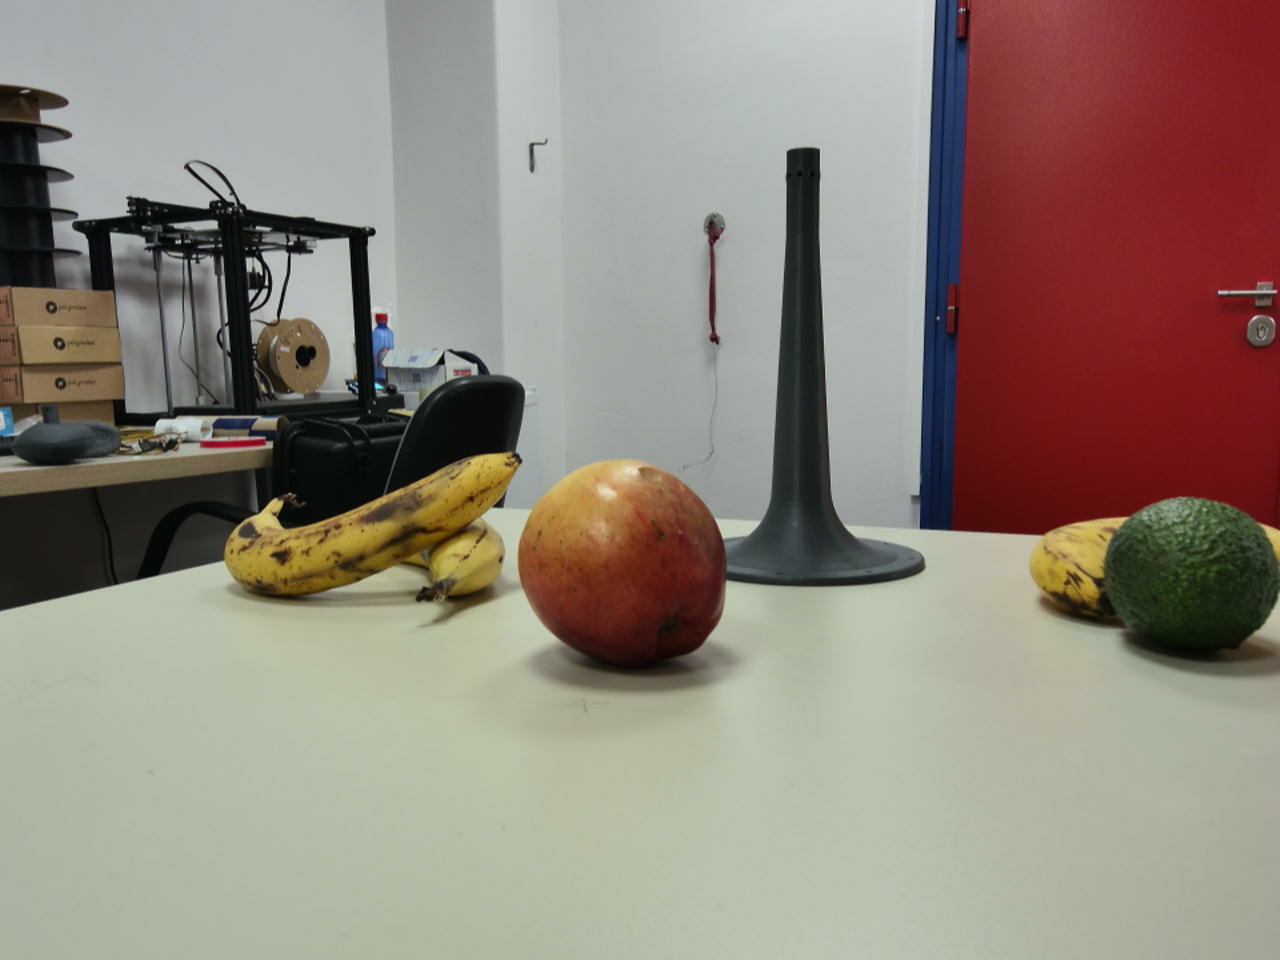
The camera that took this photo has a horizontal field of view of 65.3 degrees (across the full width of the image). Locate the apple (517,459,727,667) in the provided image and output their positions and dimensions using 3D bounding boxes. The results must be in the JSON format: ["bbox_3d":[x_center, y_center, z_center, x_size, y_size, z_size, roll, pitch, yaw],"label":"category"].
[{"bbox_3d":[-0.008,0.034,0.428,0.086,0.084,0.093,-1,4,-11],"label":"apple"}]
